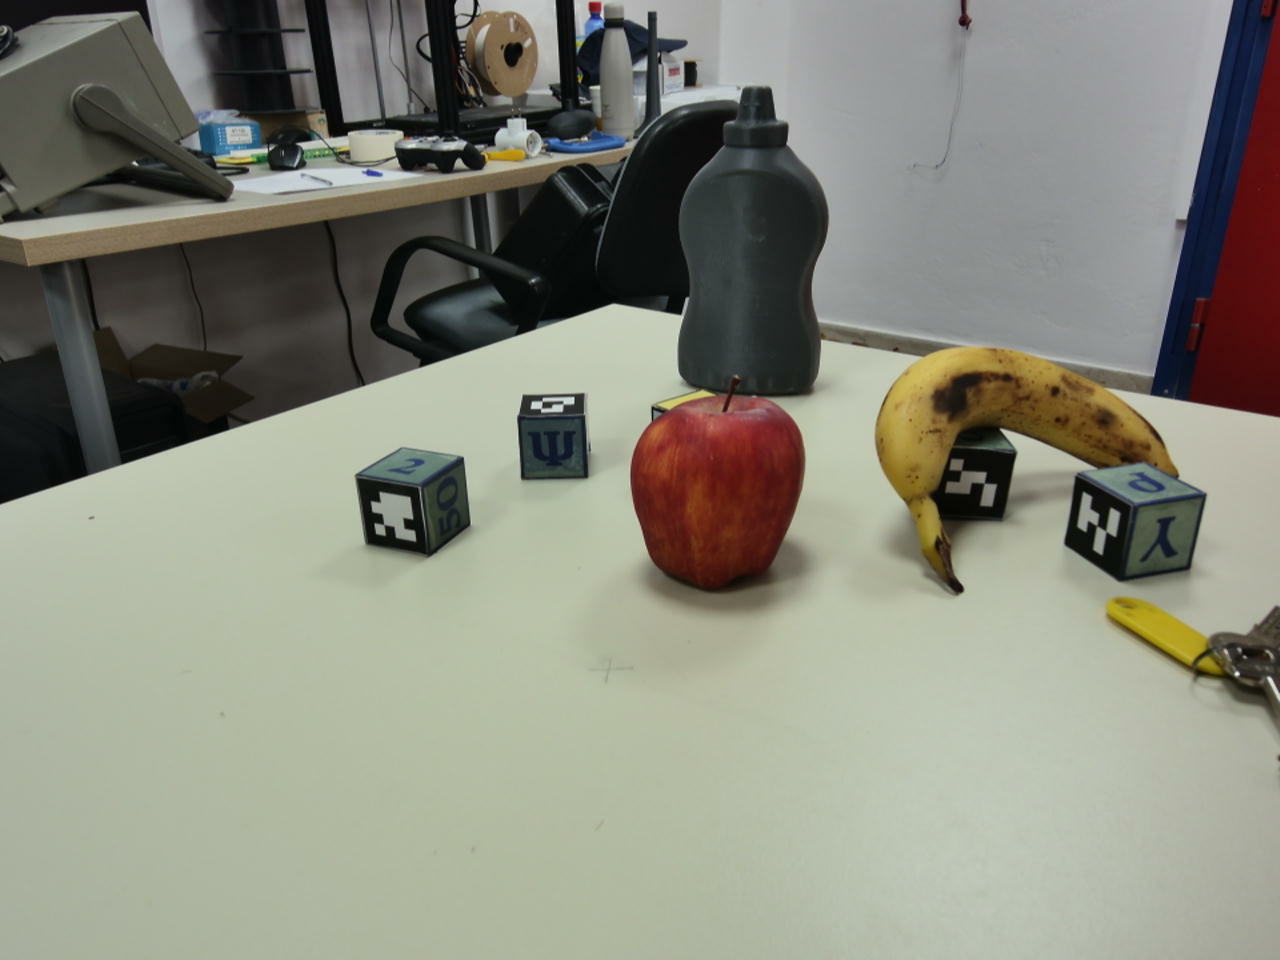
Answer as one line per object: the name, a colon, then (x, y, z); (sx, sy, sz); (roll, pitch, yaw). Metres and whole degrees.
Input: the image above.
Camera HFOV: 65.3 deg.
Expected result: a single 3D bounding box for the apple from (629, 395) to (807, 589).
apple: (0.036, -0.003, 0.449); (0.083, 0.090, 0.083); (1, 23, -1)
